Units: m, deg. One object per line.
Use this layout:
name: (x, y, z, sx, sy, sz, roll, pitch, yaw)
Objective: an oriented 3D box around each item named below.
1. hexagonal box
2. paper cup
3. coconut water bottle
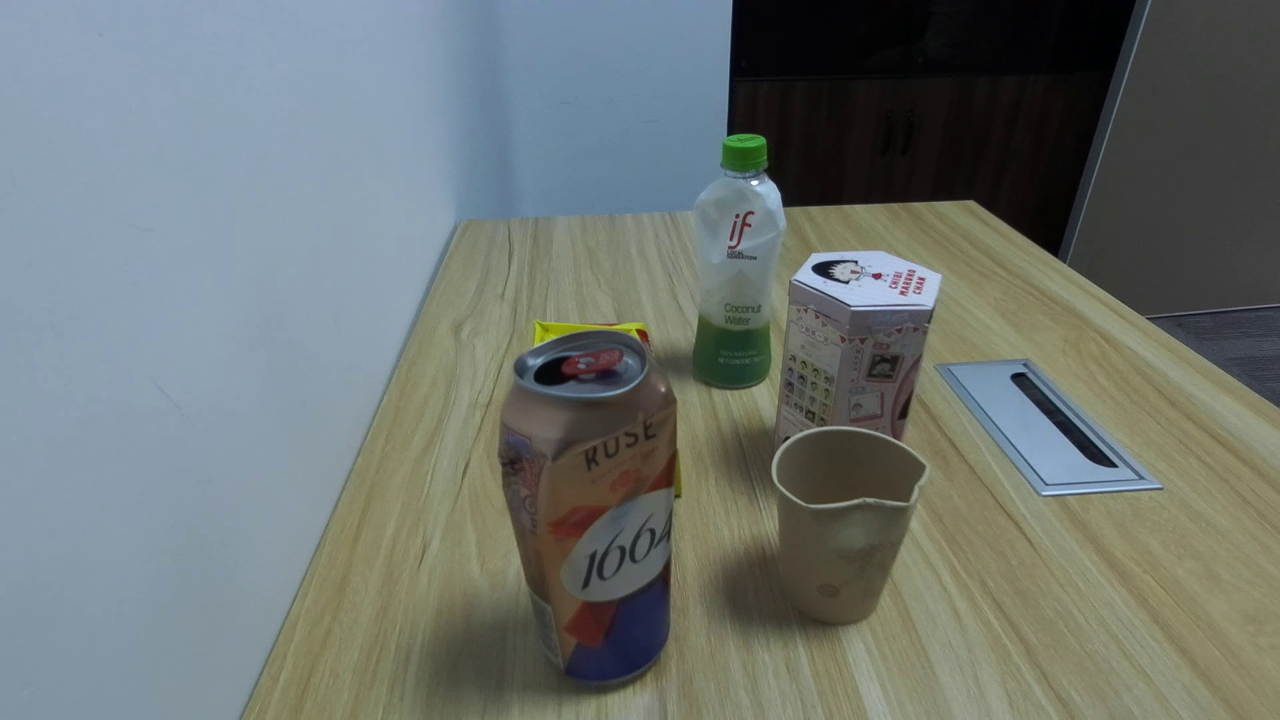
hexagonal box: (0.135, 0.009, 0.445, 0.083, 0.136, 0.091, 13, 33, 22)
paper cup: (0.101, 0.086, 0.363, 0.068, 0.081, 0.073, 17, 35, 28)
coconut water bottle: (0.072, -0.071, 0.528, 0.067, 0.187, 0.067, -1, 30, 1)
